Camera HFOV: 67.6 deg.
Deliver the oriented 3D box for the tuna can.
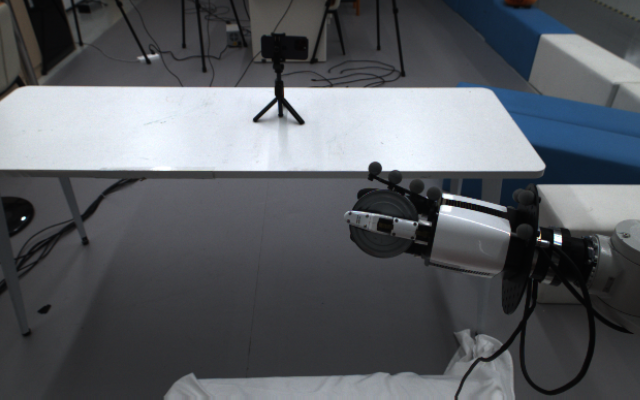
[{"bbox_3d":[0.084,0.027,0.612,0.085,0.085,0.034,13,2,16],"label":"tuna can"}]
